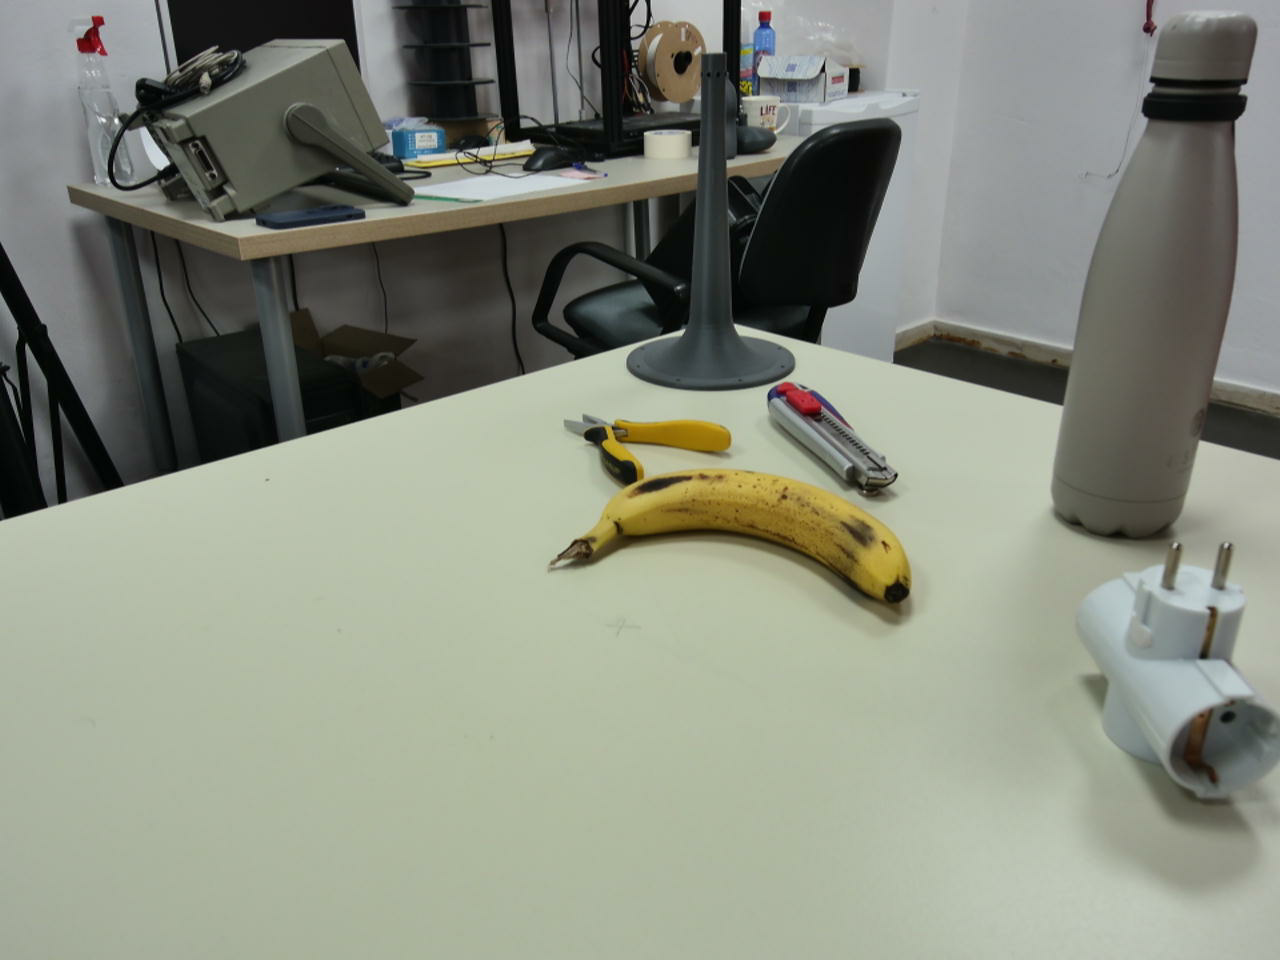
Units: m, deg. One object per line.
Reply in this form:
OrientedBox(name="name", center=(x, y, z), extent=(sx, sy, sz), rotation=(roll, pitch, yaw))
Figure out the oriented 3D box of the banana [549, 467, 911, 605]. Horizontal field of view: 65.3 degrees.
OrientedBox(name="banana", center=(0.060, 0.027, 0.558), extent=(0.186, 0.038, 0.097), rotation=(8, 25, 19))
